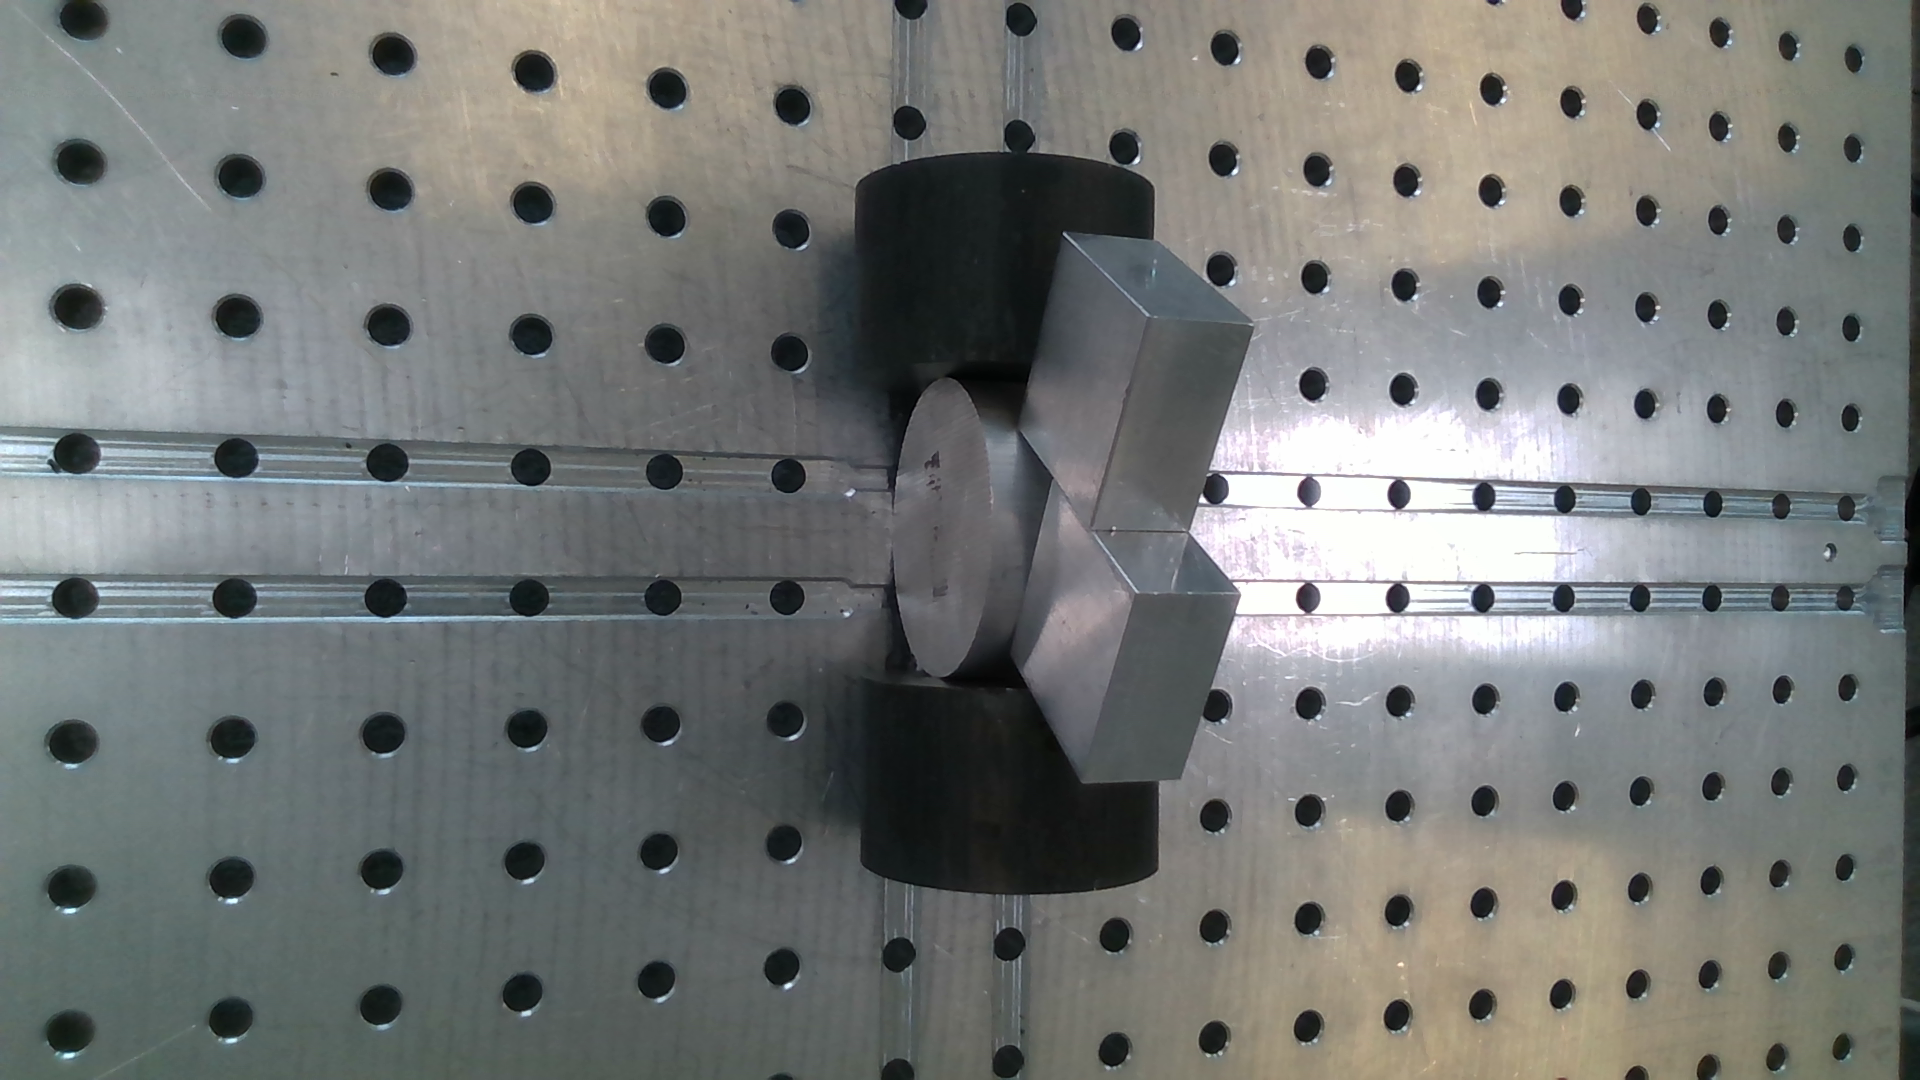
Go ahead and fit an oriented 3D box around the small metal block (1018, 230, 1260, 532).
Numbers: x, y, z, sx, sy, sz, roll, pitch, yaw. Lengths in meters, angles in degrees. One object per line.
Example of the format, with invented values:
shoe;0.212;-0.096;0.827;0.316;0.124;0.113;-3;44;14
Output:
small metal block;0.038;-0.036;0.311;0.025;0.050;0.050;1;121;-20

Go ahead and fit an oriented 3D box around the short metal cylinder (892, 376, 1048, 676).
short metal cylinder;0.017;-0.003;0.374;0.050;0.080;0.080;1;90;-20

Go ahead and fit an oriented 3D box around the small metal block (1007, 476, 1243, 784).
small metal block;0.035;0.020;0.315;0.025;0.050;0.050;1;120;-20

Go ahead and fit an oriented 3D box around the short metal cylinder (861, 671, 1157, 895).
short metal cylinder;0.013;0.062;0.372;0.080;0.080;0.050;1;89;-20

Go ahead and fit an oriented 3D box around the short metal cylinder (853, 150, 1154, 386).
short metal cylinder;0.011;-0.068;0.371;0.080;0.080;0.050;1;89;-20
